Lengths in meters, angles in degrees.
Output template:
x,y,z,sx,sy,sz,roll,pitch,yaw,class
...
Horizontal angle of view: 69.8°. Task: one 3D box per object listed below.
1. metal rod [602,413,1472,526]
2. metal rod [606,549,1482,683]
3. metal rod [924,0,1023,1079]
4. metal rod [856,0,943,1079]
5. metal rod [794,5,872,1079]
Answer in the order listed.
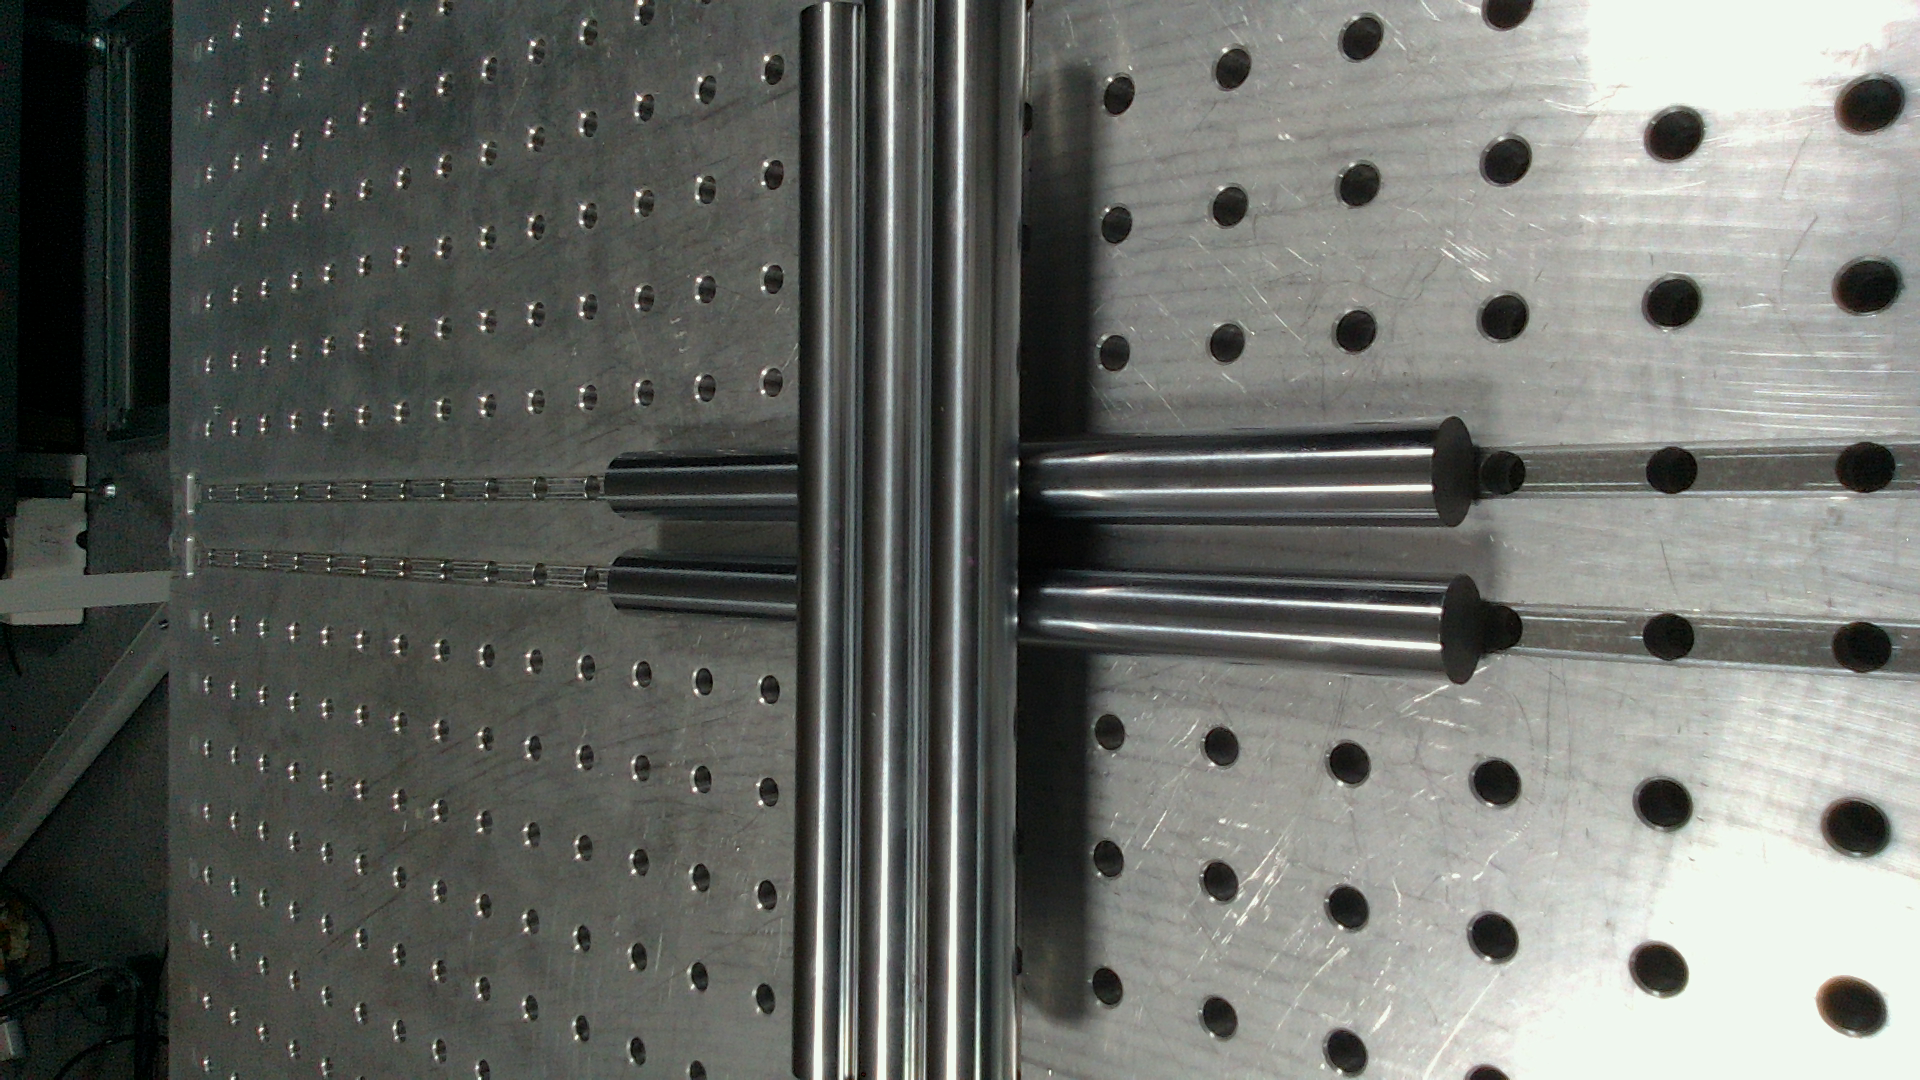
x,y,z,sx,sy,sz,roll,pitch,yaw,class
-0.005,-0.018,0.402,0.299,0.025,0.025,1,91,40,metal rod
-0.003,0.017,0.401,0.299,0.025,0.025,1,91,40,metal rod
0.004,-0.001,0.363,0.025,0.025,0.300,1,90,40,metal rod
-0.015,0.001,0.379,0.025,0.025,0.300,1,90,40,metal rod
-0.035,0.002,0.394,0.025,0.025,0.300,1,90,40,metal rod
